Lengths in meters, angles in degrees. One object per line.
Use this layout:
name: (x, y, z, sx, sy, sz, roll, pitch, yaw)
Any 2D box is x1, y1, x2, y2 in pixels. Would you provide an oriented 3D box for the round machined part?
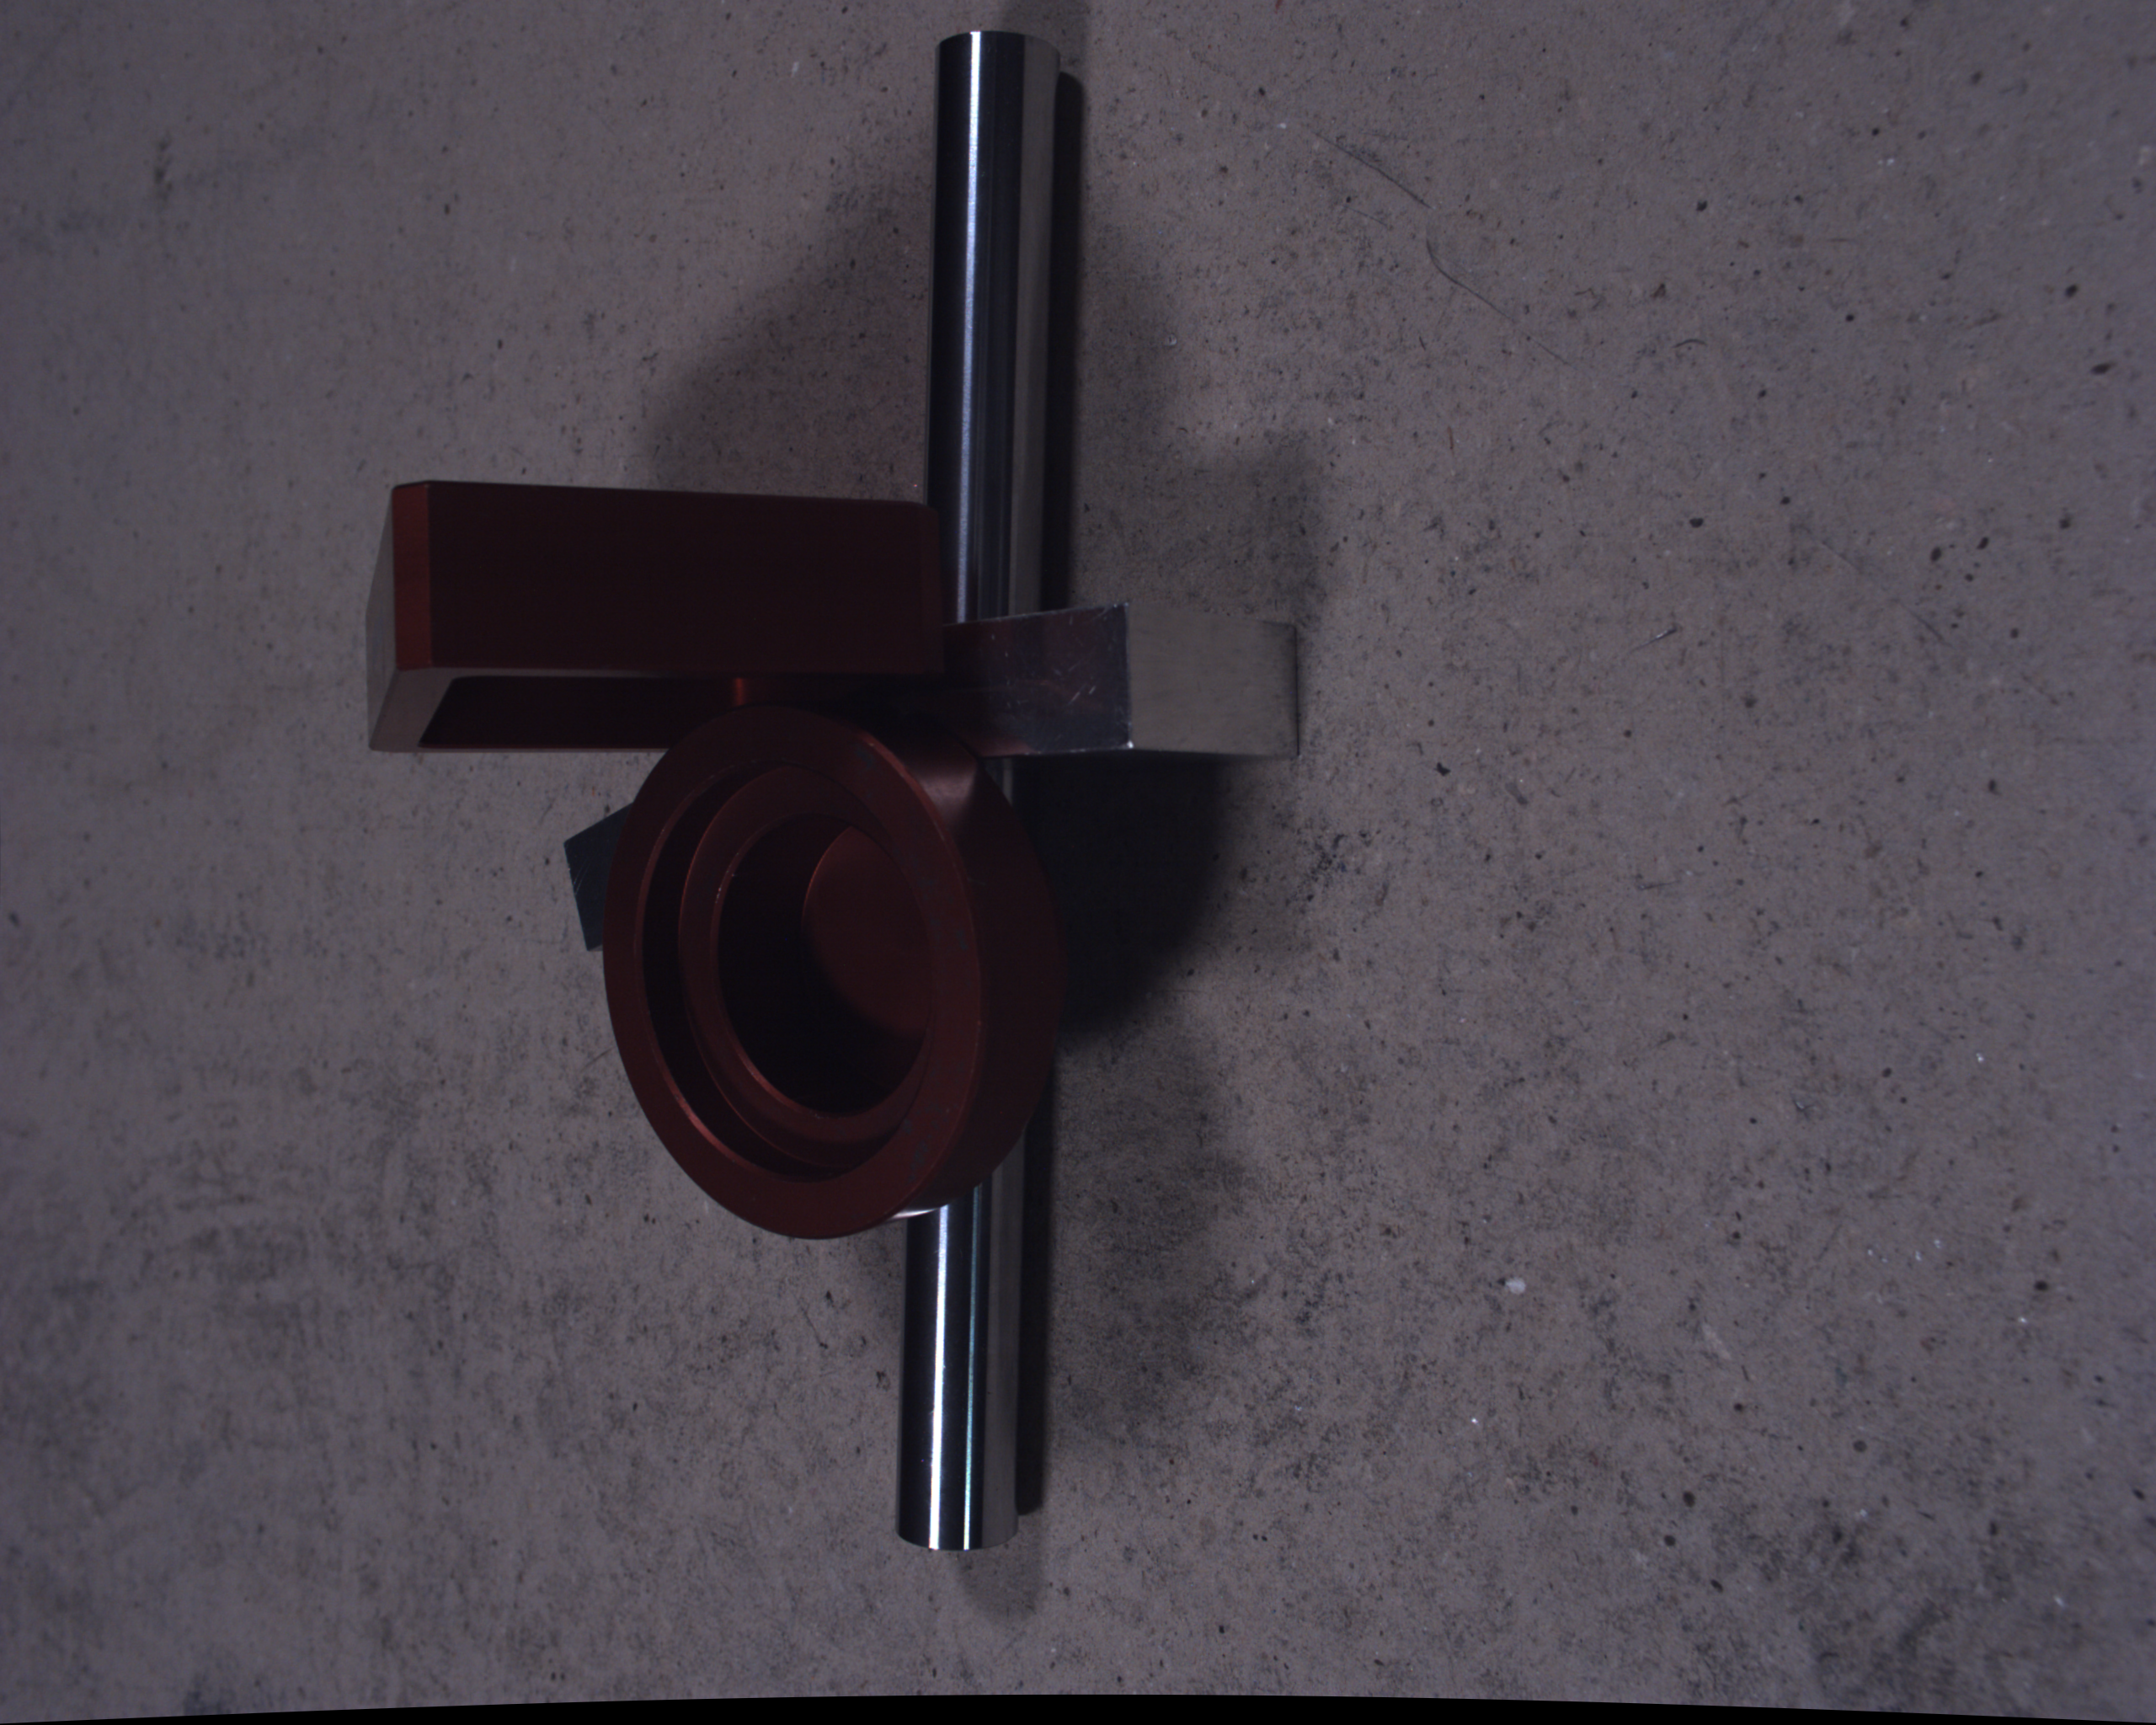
round machined part: (-0.042, 0.018, 0.392, 0.098, 0.042, 0.097, 3, 95, 37)

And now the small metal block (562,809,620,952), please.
small metal block: (-0.073, -0.001, 0.448, 0.050, 0.050, 0.025, -24, 75, 37)

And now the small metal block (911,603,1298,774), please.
small metal block: (0.005, -0.031, 0.384, 0.050, 0.050, 0.025, -2, 89, 39)

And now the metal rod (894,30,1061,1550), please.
metal rod: (-0.020, -0.013, 0.421, 0.025, 0.025, 0.298, 3, 92, 39)

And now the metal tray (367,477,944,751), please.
metal tray: (-0.087, -0.043, 0.404, 0.130, 0.091, 0.030, 170, 98, -69)
